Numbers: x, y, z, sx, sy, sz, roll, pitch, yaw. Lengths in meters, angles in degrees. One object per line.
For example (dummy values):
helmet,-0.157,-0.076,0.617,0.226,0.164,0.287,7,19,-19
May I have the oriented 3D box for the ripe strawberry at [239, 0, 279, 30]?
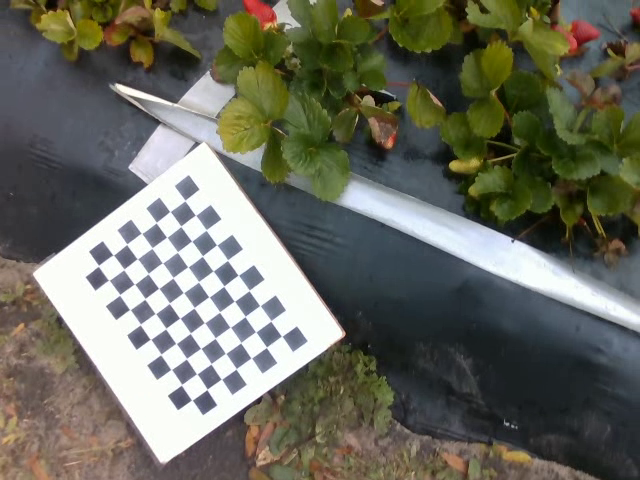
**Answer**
ripe strawberry,-0.072,-0.274,0.740,0.041,0.051,0.037,-40,-2,7
